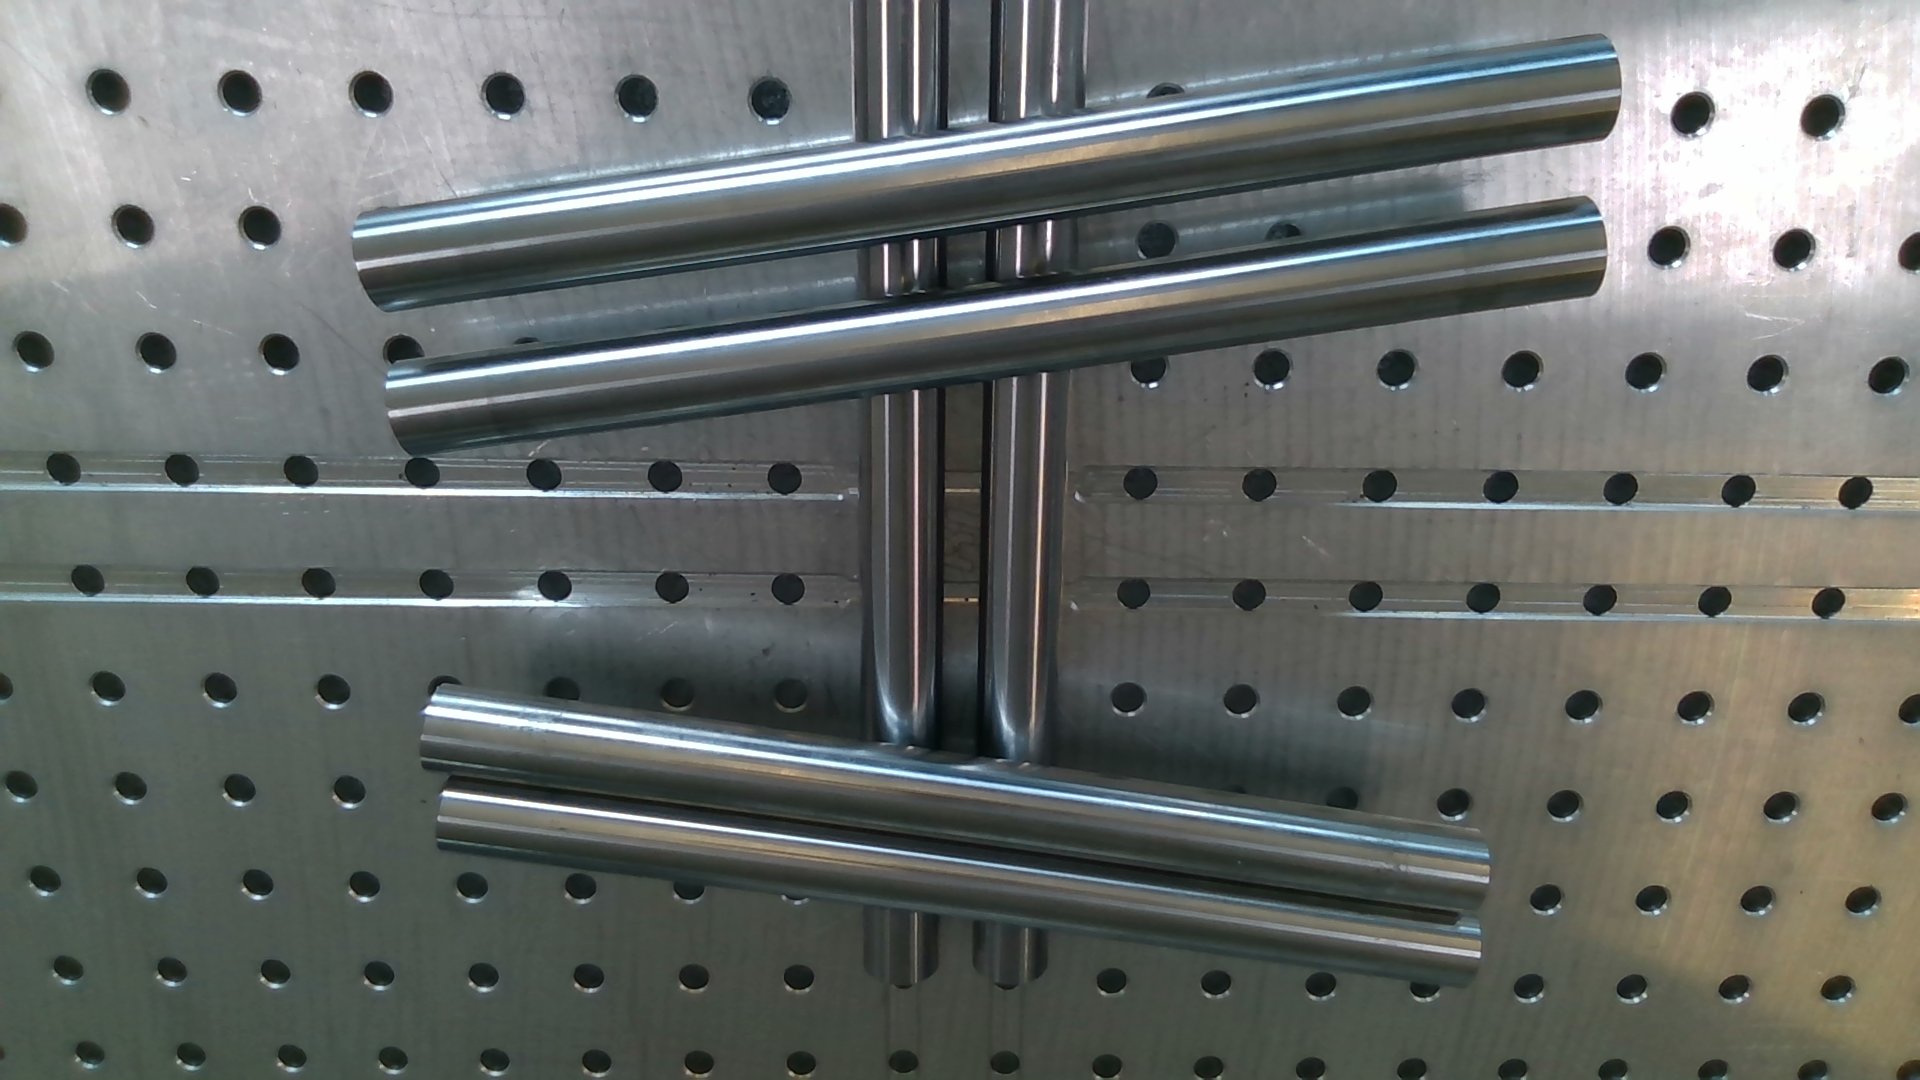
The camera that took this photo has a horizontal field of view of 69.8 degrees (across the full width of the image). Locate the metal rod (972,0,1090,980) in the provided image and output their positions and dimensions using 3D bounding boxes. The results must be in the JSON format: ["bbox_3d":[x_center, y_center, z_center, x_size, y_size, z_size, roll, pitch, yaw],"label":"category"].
[{"bbox_3d":[0.018,-0.007,0.394,0.025,0.025,0.301,1,110,0],"label":"metal rod"}]

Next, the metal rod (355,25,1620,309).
[{"bbox_3d":[0.004,-0.090,0.337,0.300,0.025,0.025,-8,110,3],"label":"metal rod"}]

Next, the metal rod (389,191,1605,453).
[{"bbox_3d":[0.006,-0.055,0.350,0.300,0.025,0.025,-7,110,3],"label":"metal rod"}]

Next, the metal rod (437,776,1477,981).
[{"bbox_3d":[0.002,0.098,0.406,0.300,0.025,0.025,8,110,-3],"label":"metal rod"}]

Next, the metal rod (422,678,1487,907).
[{"bbox_3d":[0.001,0.073,0.397,0.300,0.025,0.025,8,110,-3],"label":"metal rod"}]

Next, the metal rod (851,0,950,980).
[{"bbox_3d":[-0.017,-0.006,0.394,0.025,0.025,0.301,1,110,0],"label":"metal rod"}]
